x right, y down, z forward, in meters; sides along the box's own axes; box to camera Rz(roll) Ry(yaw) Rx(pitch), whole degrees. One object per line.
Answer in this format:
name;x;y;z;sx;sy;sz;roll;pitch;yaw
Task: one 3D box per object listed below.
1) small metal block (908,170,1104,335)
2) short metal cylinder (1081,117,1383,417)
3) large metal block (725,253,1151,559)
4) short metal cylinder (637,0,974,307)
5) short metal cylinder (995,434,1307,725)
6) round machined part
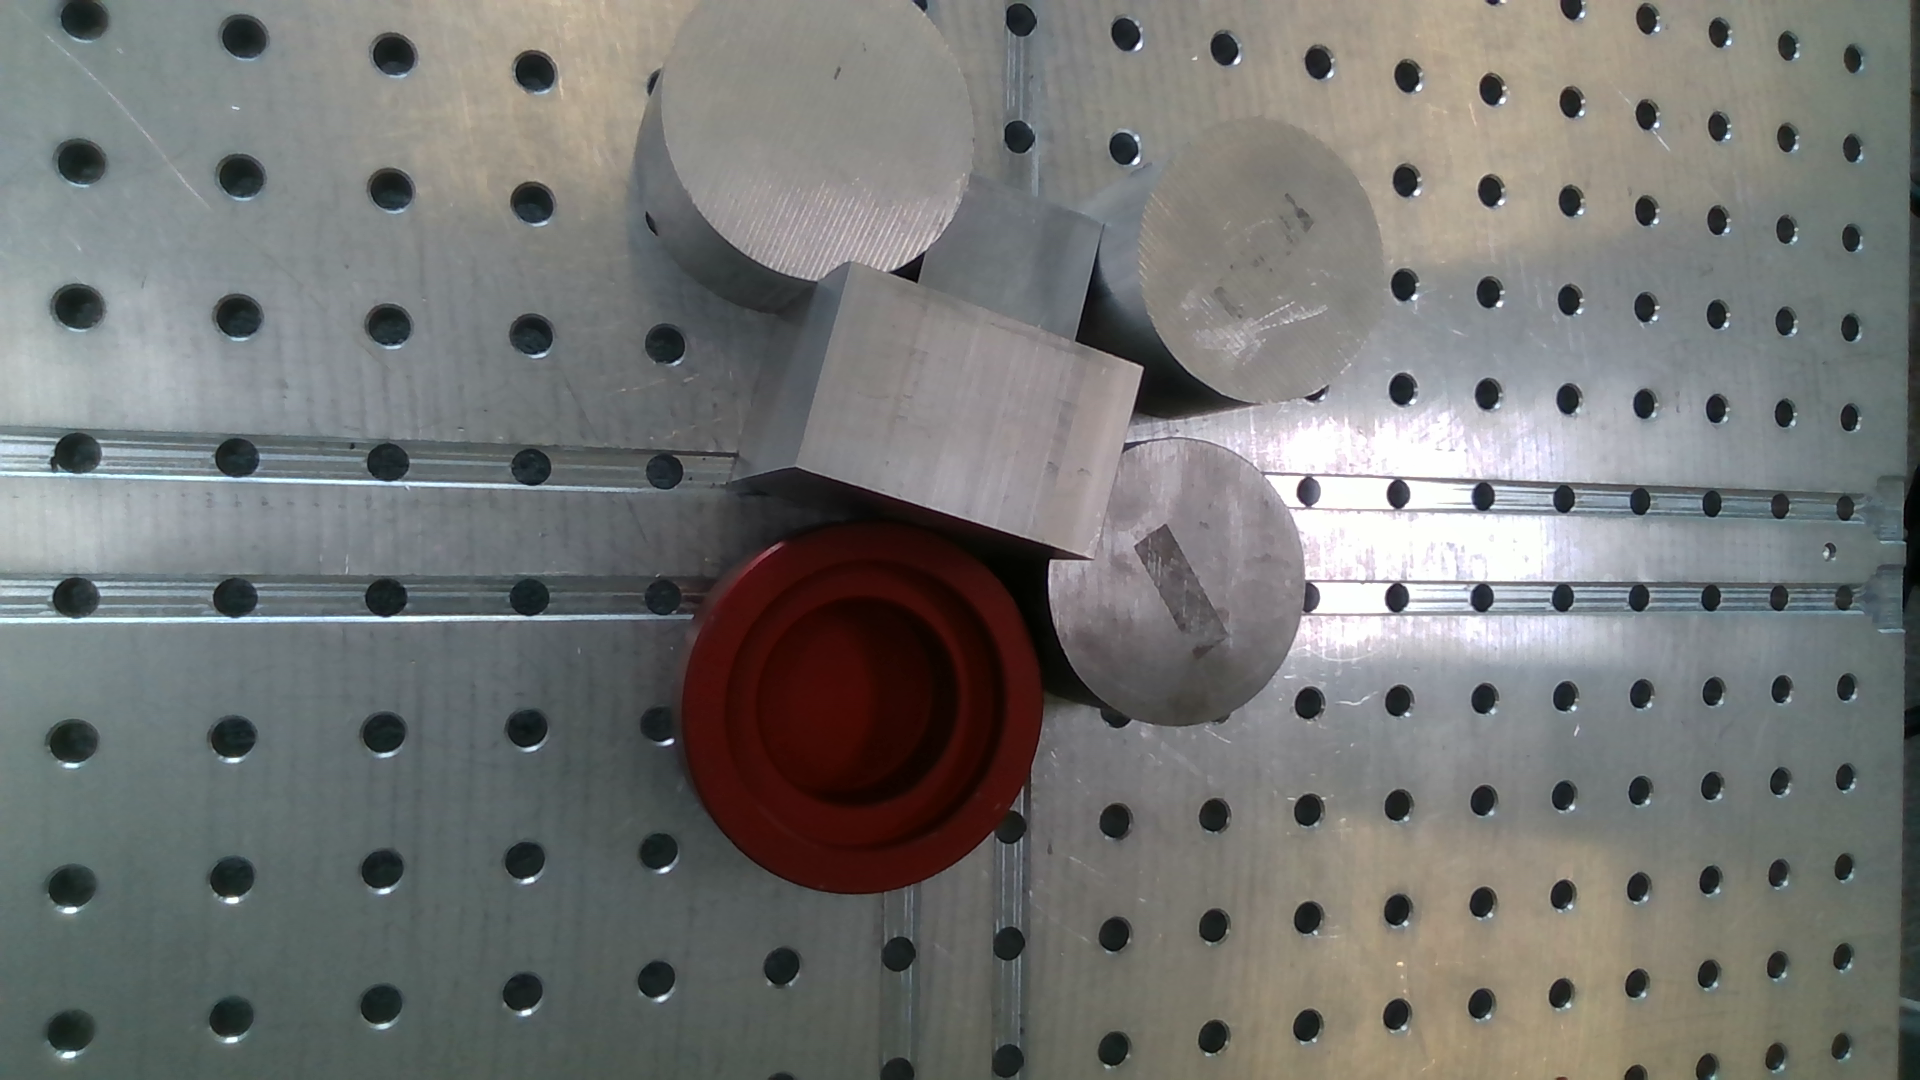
small metal block;0.009;-0.075;0.399;0.050;0.025;0.050;16;85;-19
short metal cylinder;0.077;-0.079;0.411;0.080;0.050;0.080;0;90;-20
large metal block;-0.009;-0.030;0.361;0.080;0.080;0.050;17;84;-19
short metal cylinder;-0.042;-0.105;0.367;0.080;0.050;0.080;0;90;-20
short metal cylinder;0.053;0.011;0.403;0.080;0.050;0.080;0;90;-20
round machined part;-0.030;0.043;0.376;0.098;0.042;0.098;0;90;-20
